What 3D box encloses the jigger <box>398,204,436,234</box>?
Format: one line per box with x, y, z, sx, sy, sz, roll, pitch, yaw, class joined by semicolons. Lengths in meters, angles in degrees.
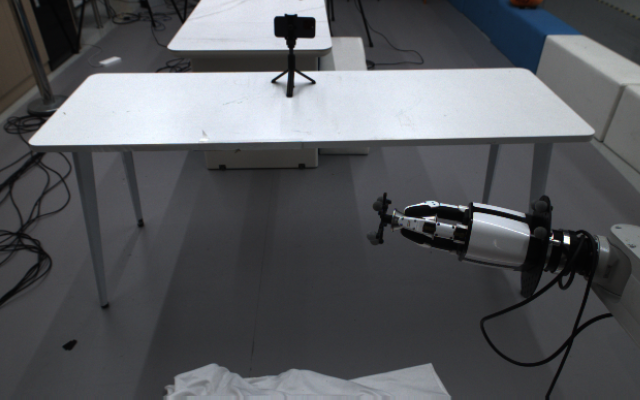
0.158;0.033;0.781;0.071;0.043;0.043;8;35;16;jigger
